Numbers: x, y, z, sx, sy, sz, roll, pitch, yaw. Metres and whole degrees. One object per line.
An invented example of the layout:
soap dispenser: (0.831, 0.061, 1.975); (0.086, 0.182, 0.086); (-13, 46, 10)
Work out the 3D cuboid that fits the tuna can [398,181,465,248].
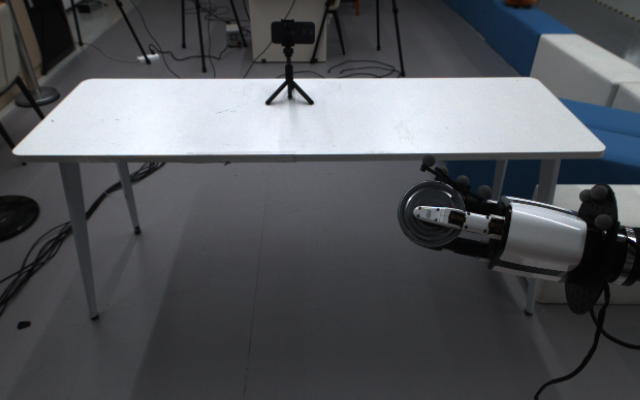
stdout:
tuna can: (0.145, 0.016, 0.621); (0.085, 0.085, 0.034); (13, -4, 15)
